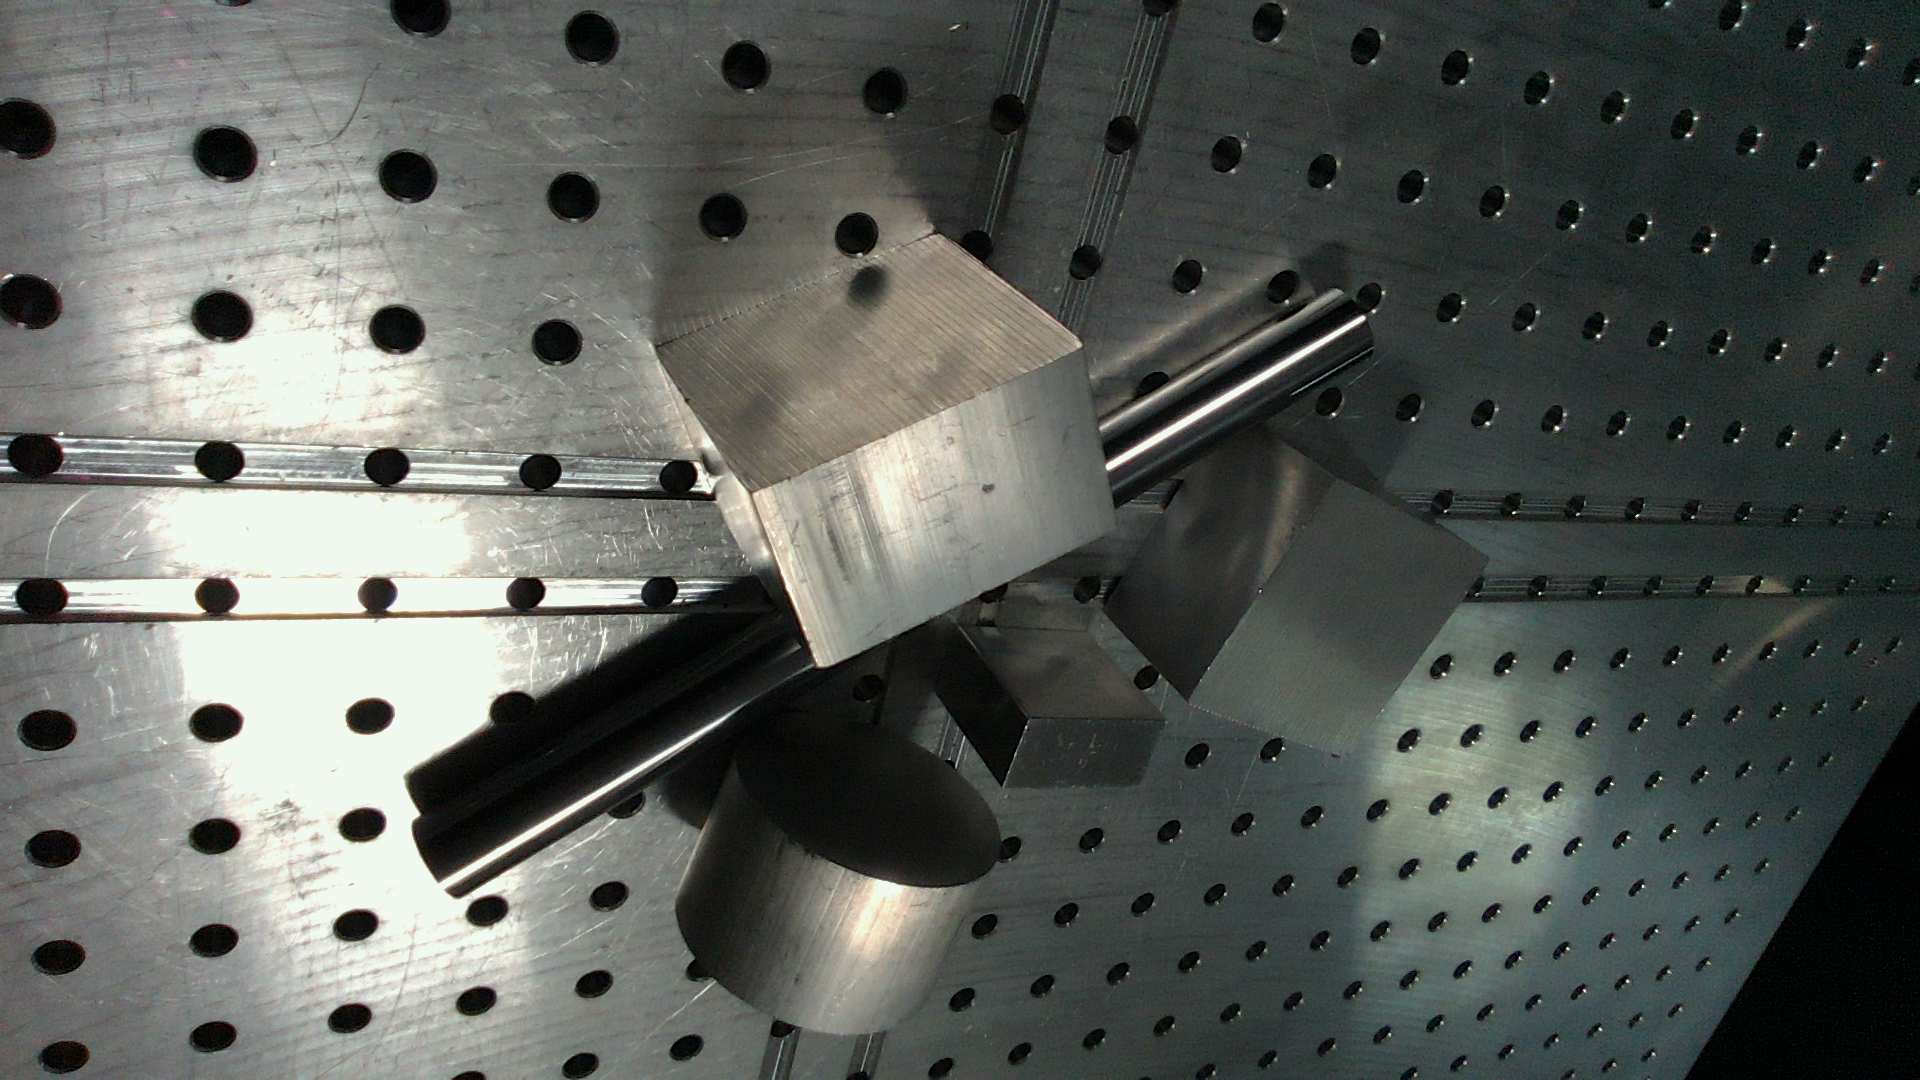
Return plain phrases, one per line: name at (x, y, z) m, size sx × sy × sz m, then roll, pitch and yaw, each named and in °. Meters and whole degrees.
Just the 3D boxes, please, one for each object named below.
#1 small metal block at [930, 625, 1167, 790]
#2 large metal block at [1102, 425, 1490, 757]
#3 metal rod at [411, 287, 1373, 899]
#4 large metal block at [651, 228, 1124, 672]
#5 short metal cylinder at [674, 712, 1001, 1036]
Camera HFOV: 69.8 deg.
small metal block at (0.026, 0.051, 0.422) m, size 0.050 × 0.050 × 0.025 m, roll 5°, pitch 116°, yaw -31°
large metal block at (0.107, 0.015, 0.440) m, size 0.080 × 0.050 × 0.080 m, roll 21°, pitch 107°, yaw -36°
metal rod at (-0.012, 0.010, 0.391) m, size 0.300 × 0.025 × 0.025 m, roll -30°, pitch 128°, yaw -9°
large metal block at (-0.019, -0.026, 0.332) m, size 0.080 × 0.080 × 0.050 m, roll -26°, pitch 128°, yaw -12°
short metal cylinder at (-0.035, 0.093, 0.394) m, size 0.080 × 0.080 × 0.050 m, roll 12°, pitch 112°, yaw -33°
